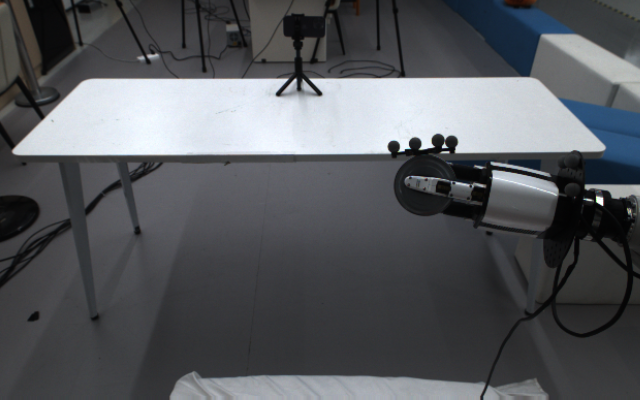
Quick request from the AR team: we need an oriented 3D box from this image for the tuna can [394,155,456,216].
[{"bbox_3d":[0.150,-0.022,0.685,0.085,0.085,0.034,10,3,11],"label":"tuna can"}]
